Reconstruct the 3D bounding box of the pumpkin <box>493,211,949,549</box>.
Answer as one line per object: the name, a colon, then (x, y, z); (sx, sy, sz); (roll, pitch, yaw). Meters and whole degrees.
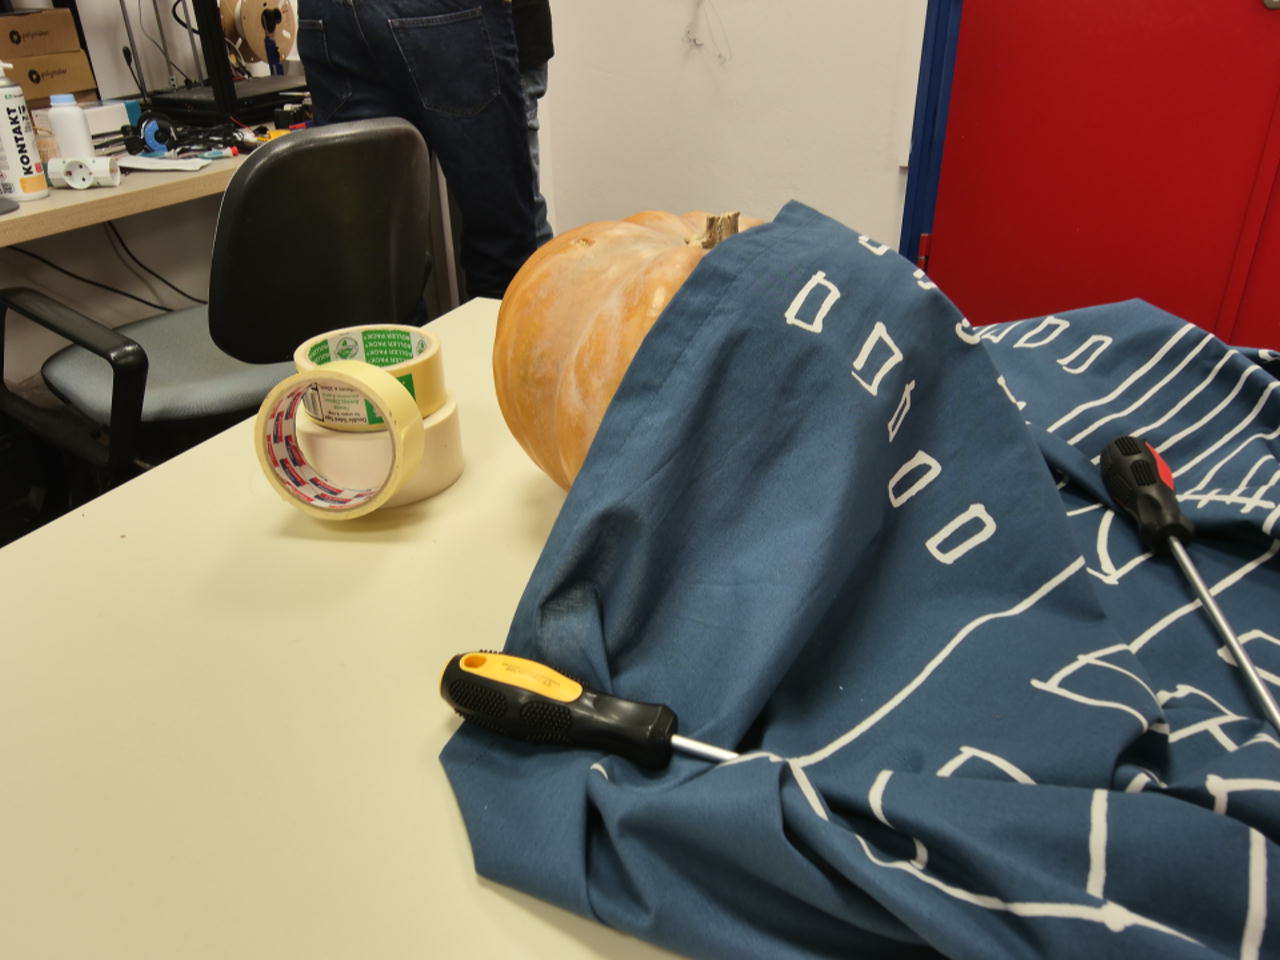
pumpkin: (0.042, -0.070, 0.606); (0.277, 0.181, 0.277); (0, 26, 0)
